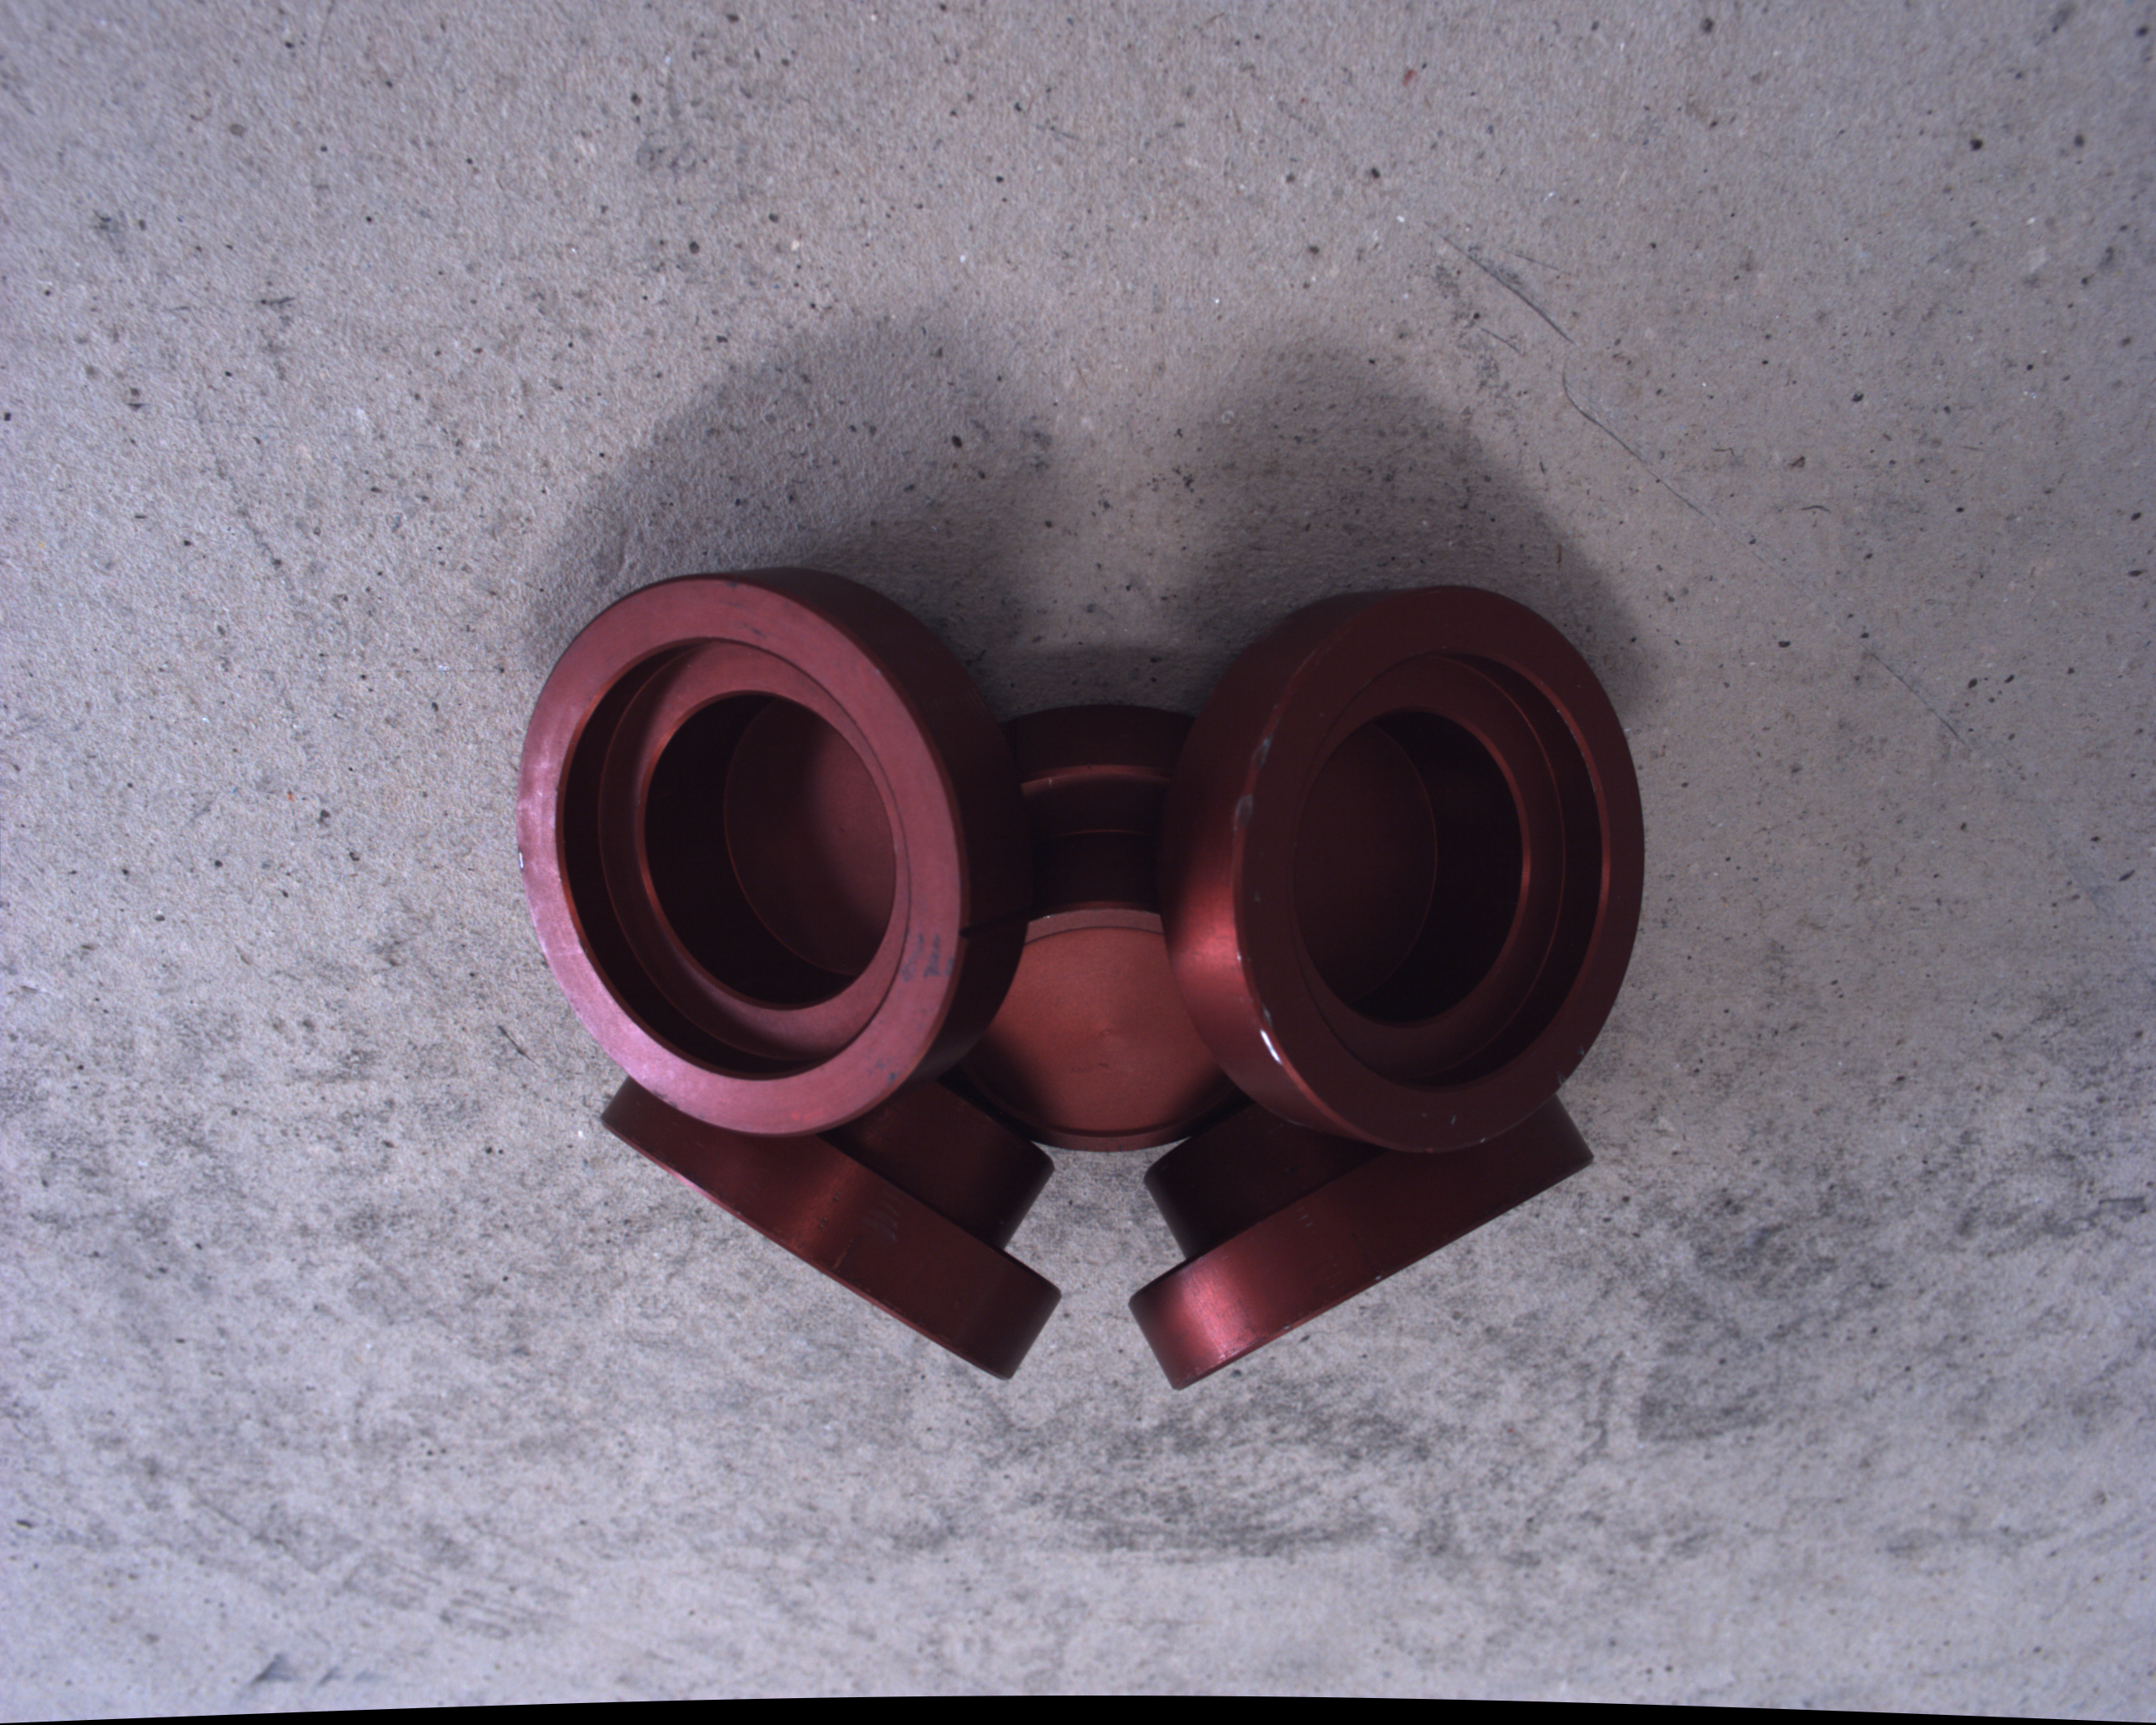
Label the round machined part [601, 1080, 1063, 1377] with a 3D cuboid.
[{"bbox_3d":[-0.044,0.062,0.427,0.098,0.098,0.042,39,77,-28],"label":"round machined part"}]

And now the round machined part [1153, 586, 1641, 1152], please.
[{"bbox_3d":[0.053,0.000,0.375,0.098,0.098,0.042,42,159,-30],"label":"round machined part"}]

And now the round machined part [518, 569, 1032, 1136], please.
[{"bbox_3d":[-0.049,-0.004,0.373,0.098,0.042,0.097,7,103,30],"label":"round machined part"}]

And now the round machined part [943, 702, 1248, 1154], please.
[{"bbox_3d":[0.006,0.020,0.414,0.099,0.042,0.097,-1,129,-1],"label":"round machined part"}]

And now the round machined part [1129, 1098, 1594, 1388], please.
[{"bbox_3d":[0.053,0.067,0.434,0.098,0.042,0.098,-27,166,-7],"label":"round machined part"}]
